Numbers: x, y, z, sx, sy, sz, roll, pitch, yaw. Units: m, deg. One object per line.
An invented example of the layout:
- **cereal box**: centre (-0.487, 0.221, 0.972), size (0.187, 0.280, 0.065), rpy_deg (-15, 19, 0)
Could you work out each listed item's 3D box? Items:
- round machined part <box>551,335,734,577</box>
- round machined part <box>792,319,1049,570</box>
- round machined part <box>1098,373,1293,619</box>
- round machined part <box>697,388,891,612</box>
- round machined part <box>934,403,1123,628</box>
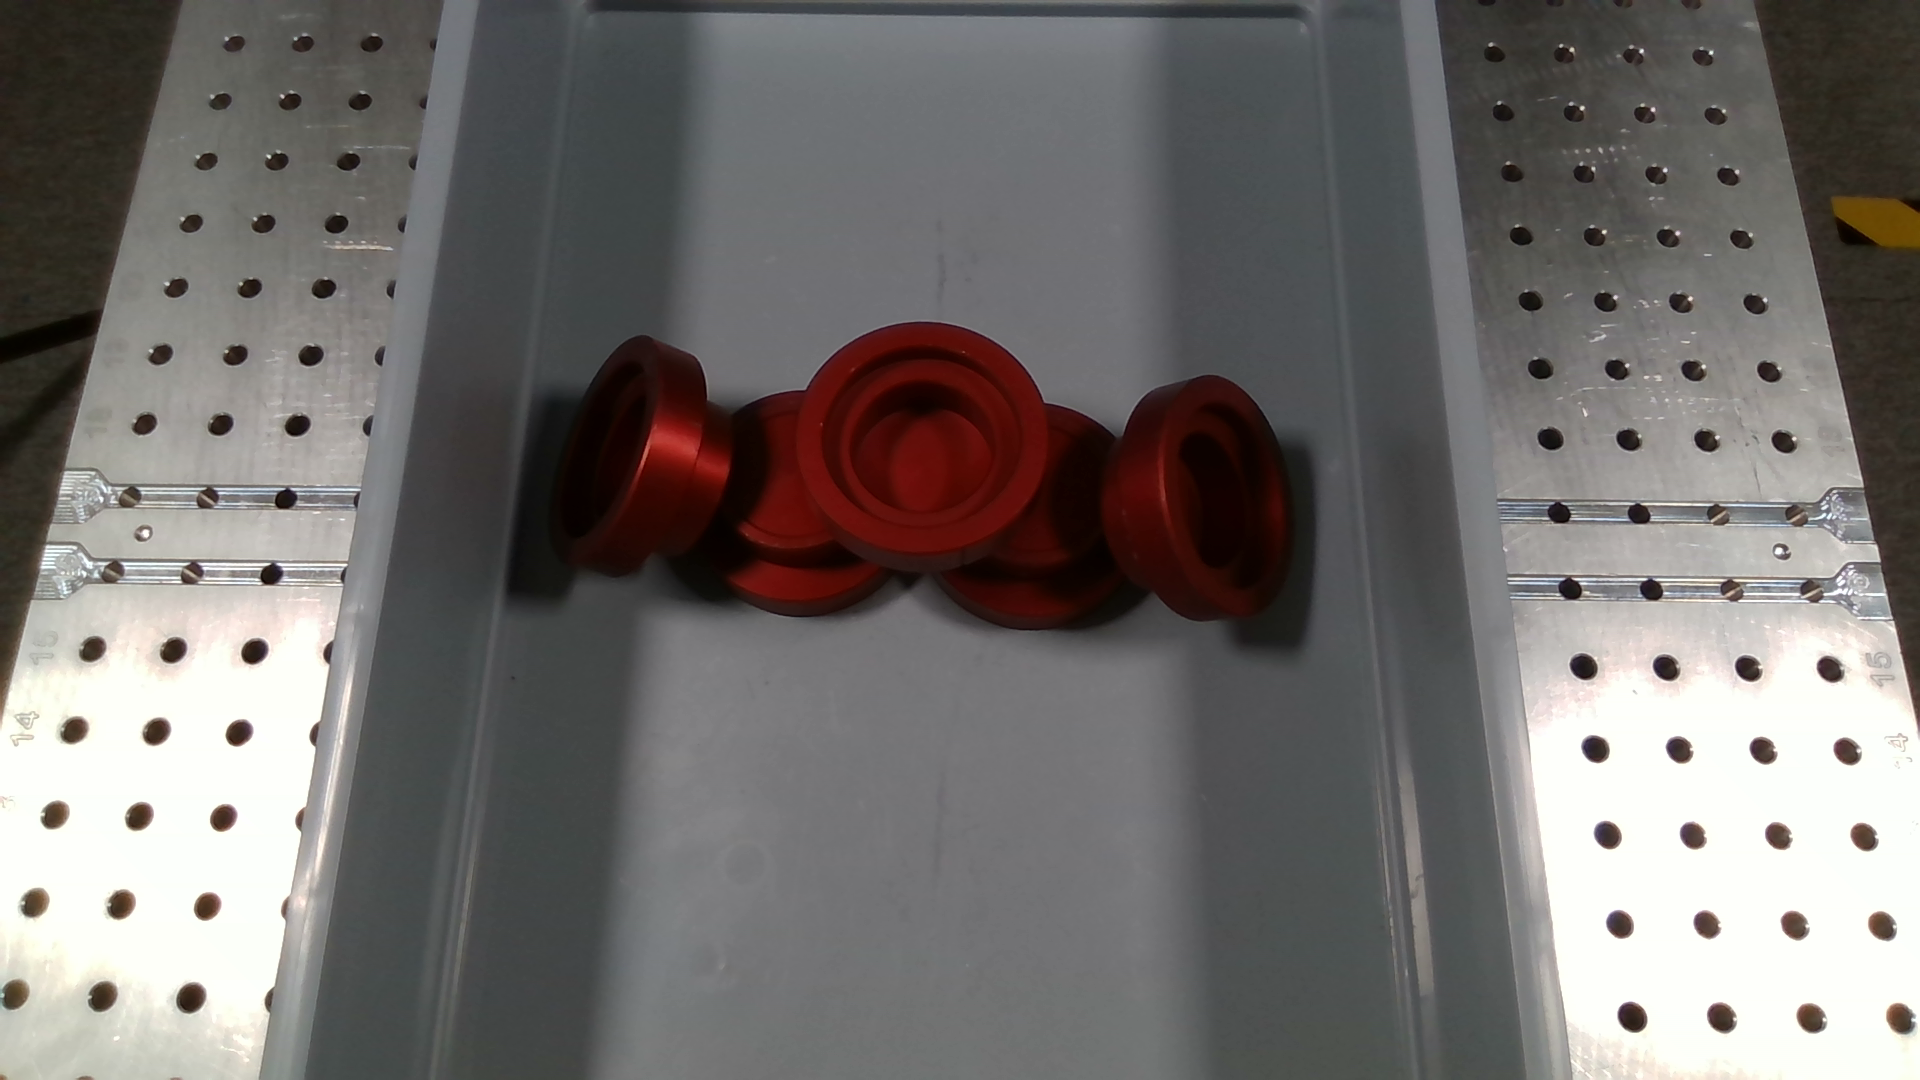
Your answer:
- **round machined part**: centre (-0.129, -0.032, 0.570), size (0.042, 0.098, 0.098), rpy_deg (20, 66, -33)
- **round machined part**: centre (-0.015, -0.034, 0.544), size (0.098, 0.042, 0.098), rpy_deg (0, 70, 0)
- **round machined part**: centre (0.093, -0.016, 0.564), size (0.042, 0.098, 0.098), rpy_deg (-11, 63, 42)
- **round machined part**: centre (-0.068, -0.021, 0.585), size (0.098, 0.042, 0.098), rpy_deg (0, 70, 0)
- **round machined part**: centre (0.030, -0.015, 0.583), size (0.098, 0.042, 0.098), rpy_deg (0, 70, 0)
